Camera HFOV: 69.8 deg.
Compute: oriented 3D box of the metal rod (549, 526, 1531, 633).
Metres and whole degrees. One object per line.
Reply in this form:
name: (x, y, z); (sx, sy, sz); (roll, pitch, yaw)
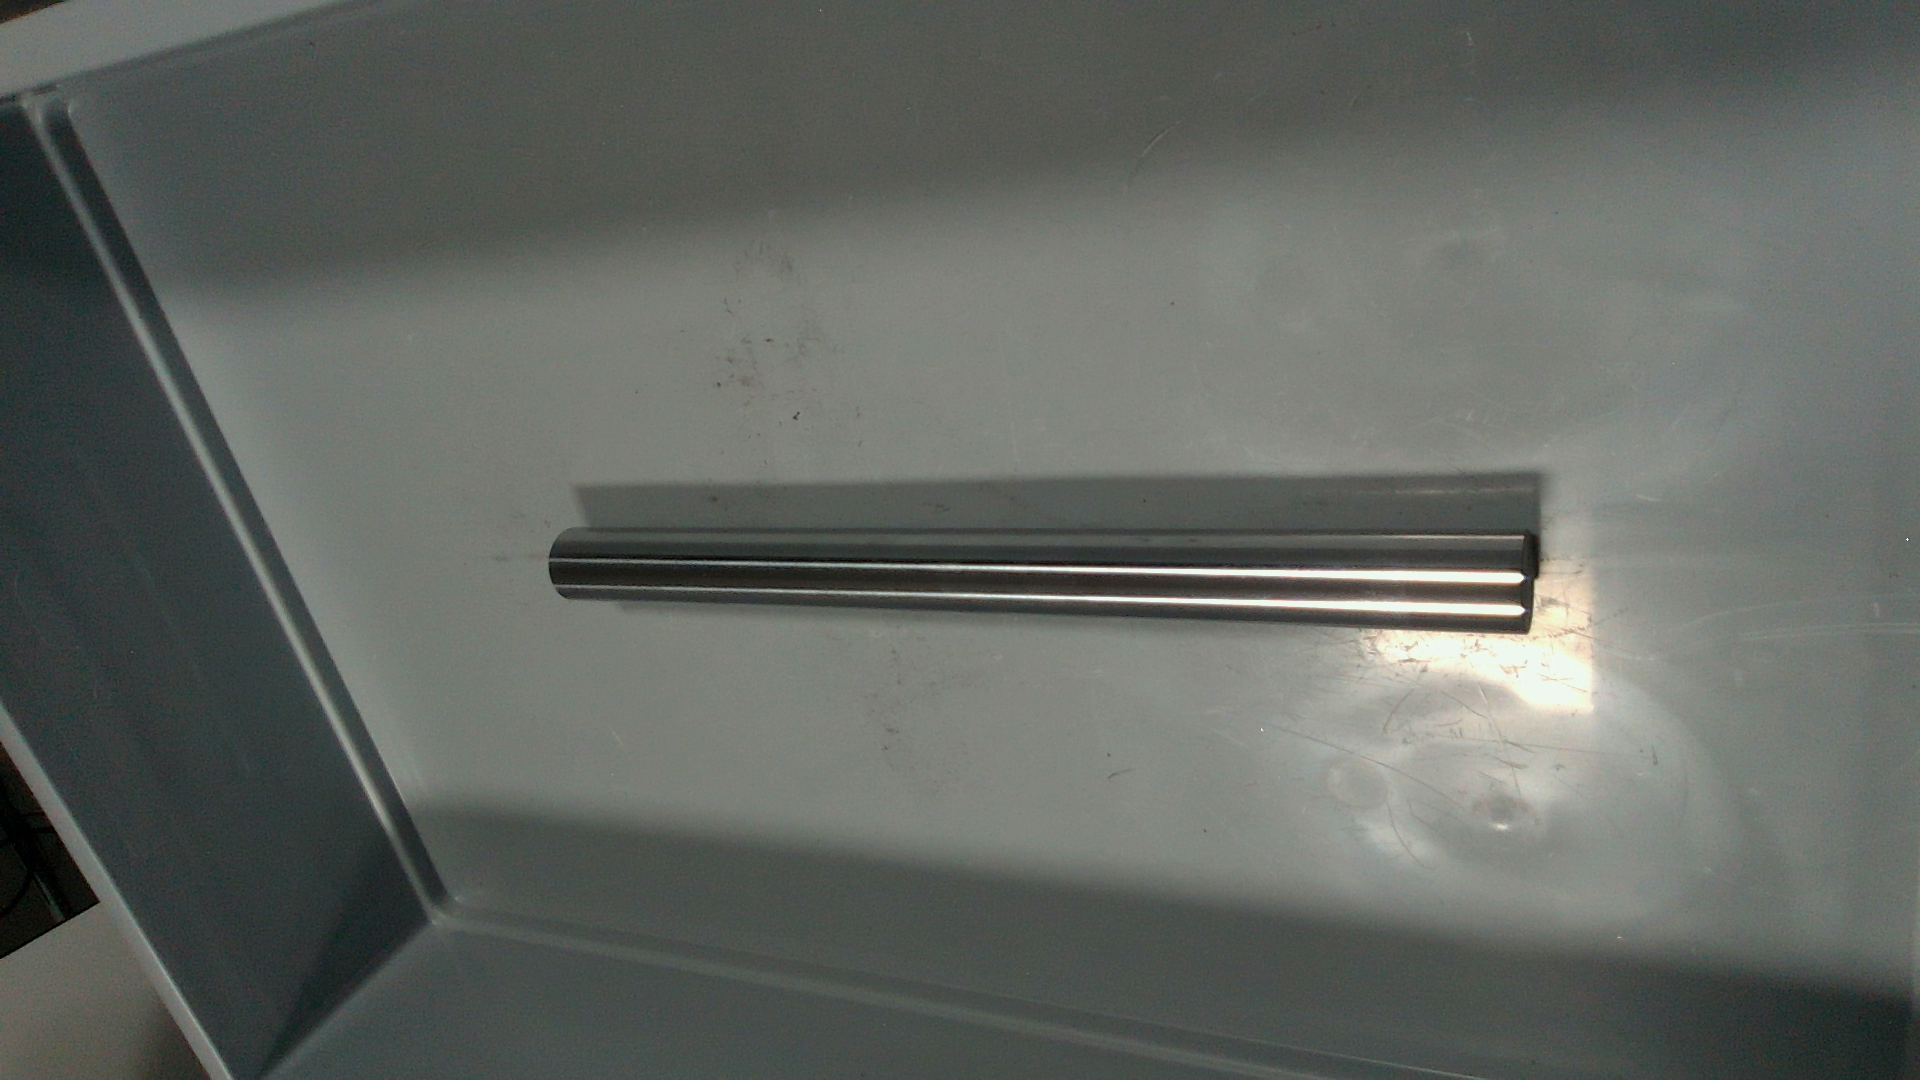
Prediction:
metal rod: (0.002, 0.009, 0.395); (0.299, 0.025, 0.025); (0, 119, 28)
